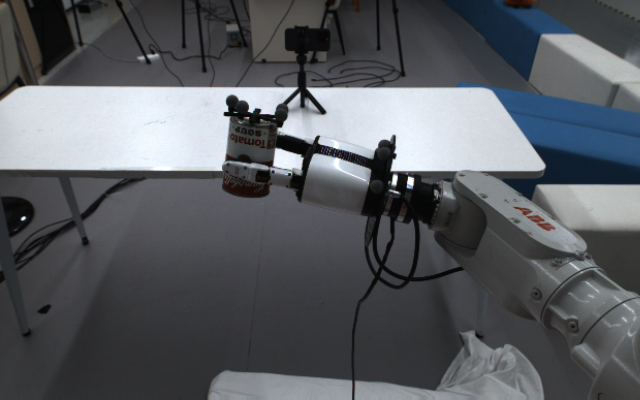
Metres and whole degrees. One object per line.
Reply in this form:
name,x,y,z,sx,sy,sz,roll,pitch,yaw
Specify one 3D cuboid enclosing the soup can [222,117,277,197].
soup can,-0.096,-0.062,0.669,0.067,0.101,0.067,9,20,-3
